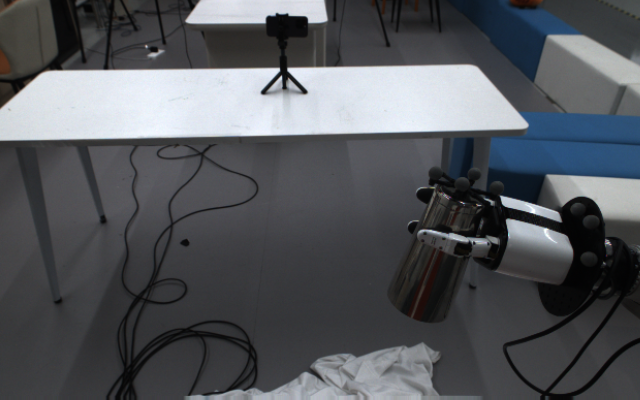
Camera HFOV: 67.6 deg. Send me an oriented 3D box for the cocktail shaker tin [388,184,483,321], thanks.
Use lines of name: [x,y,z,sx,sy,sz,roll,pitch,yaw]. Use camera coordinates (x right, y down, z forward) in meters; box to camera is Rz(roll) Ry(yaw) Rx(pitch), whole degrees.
cocktail shaker tin: [0.162,0.064,0.648,0.093,0.170,0.093,12,25,-6]
